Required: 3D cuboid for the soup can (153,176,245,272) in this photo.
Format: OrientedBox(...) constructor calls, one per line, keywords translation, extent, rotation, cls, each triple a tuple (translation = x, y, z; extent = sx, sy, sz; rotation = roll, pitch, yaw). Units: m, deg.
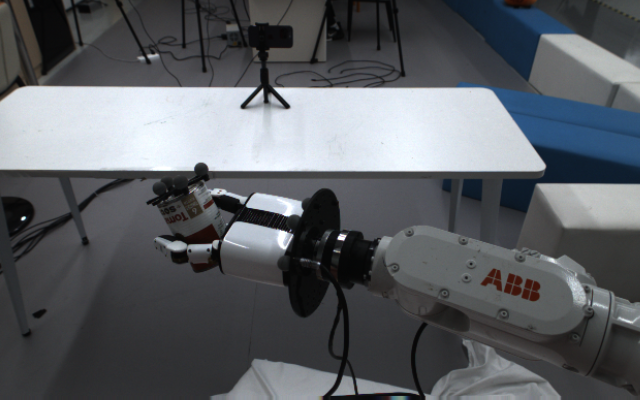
OrientedBox(translation=(-0.158, 0.036, 0.636), extent=(0.067, 0.101, 0.067), rotation=(-23, 16, 7), cls="soup can")
